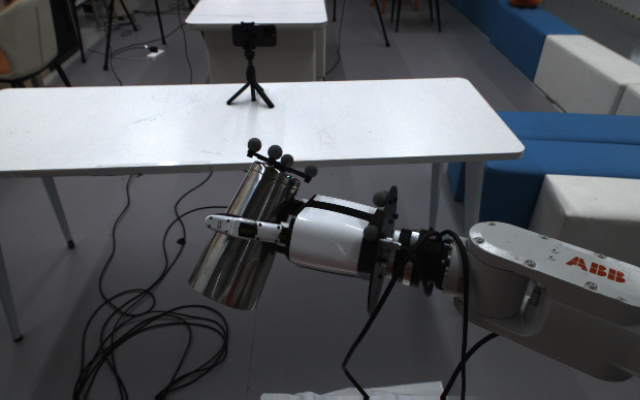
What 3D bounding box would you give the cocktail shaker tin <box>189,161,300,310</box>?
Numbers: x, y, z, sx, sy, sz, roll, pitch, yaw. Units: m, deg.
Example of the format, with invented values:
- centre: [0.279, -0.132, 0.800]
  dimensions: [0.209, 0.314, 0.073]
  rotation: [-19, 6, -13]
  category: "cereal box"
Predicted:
- centre: [-0.087, 0.040, 0.612]
  dimensions: [0.093, 0.170, 0.093]
  rotation: [23, 0, 0]
  category: "cocktail shaker tin"
